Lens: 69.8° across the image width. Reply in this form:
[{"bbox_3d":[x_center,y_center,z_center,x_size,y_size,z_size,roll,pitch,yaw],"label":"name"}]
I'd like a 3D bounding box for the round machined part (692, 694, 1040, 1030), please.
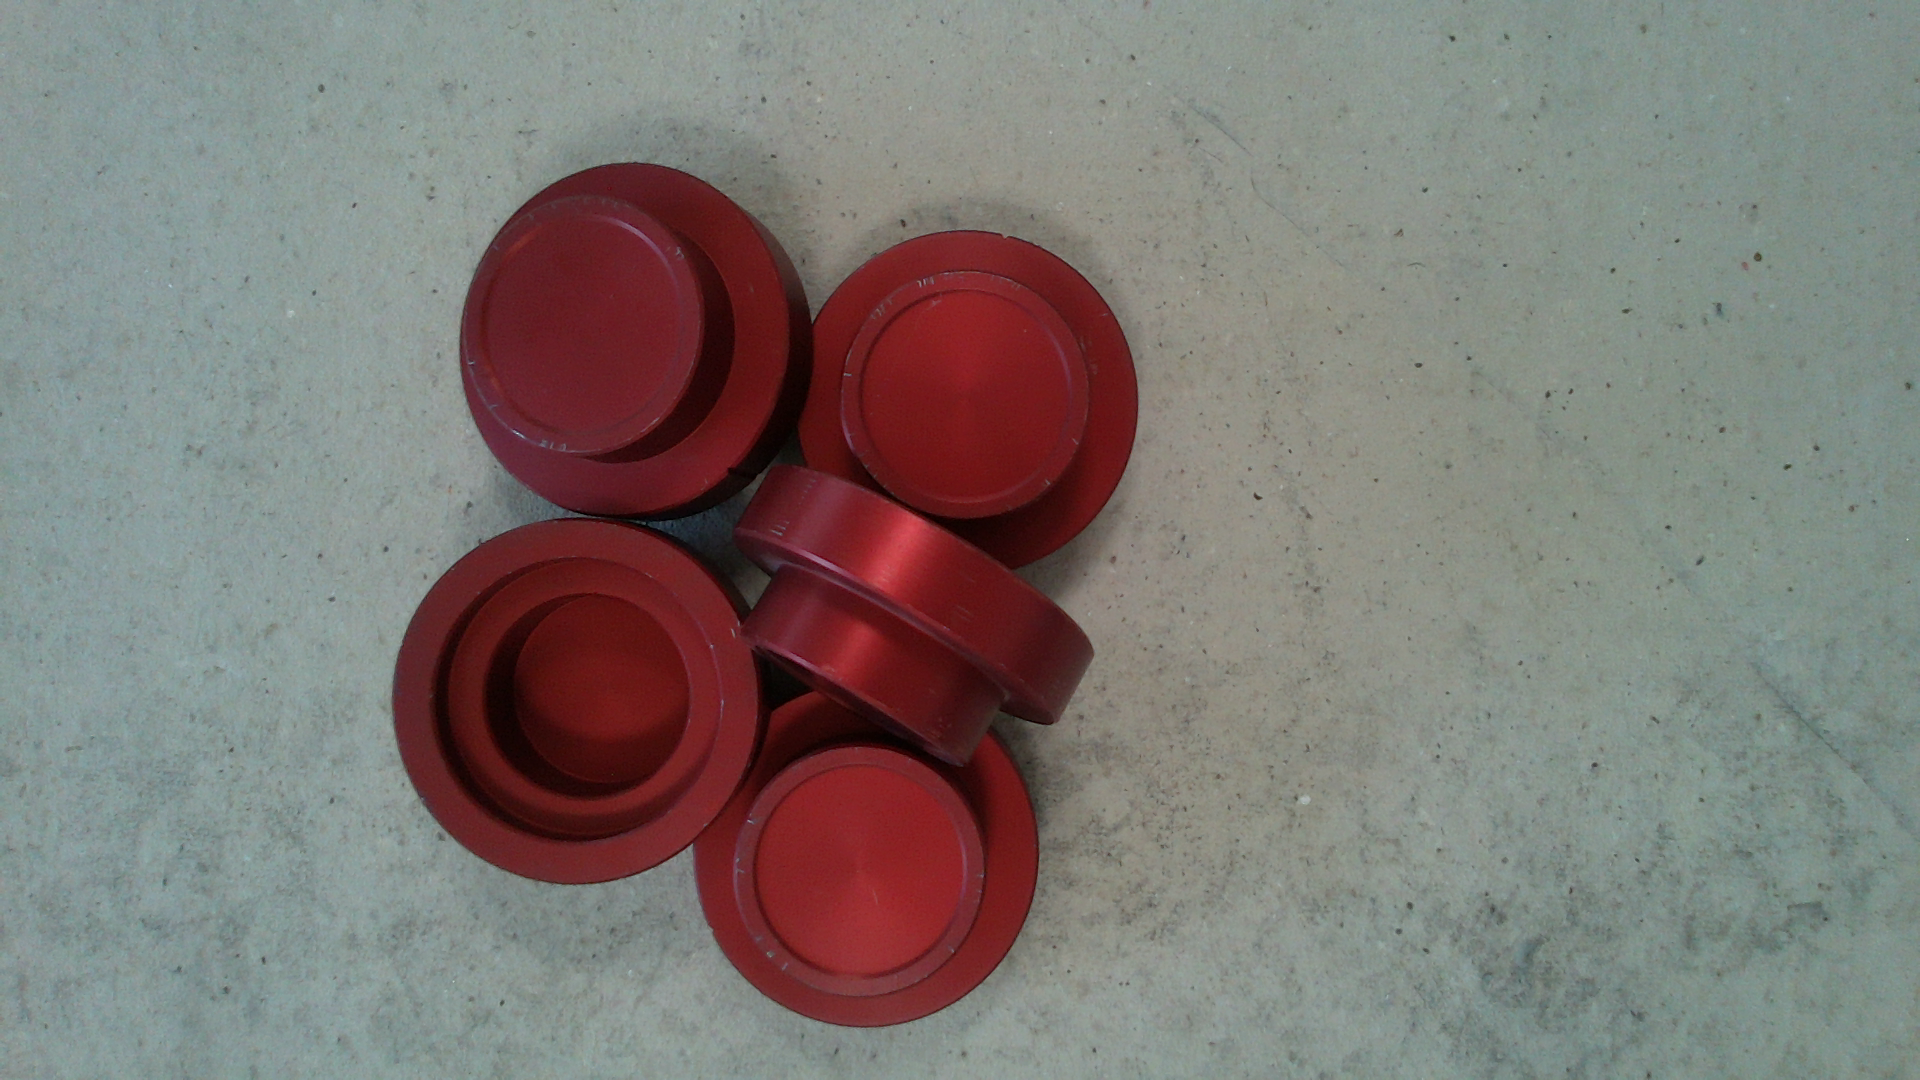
[{"bbox_3d":[-0.026,0.089,0.387,0.098,0.042,0.098,0,89,-1],"label":"round machined part"}]

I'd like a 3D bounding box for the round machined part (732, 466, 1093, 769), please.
[{"bbox_3d":[-0.018,0.025,0.356,0.098,0.098,0.042,29,77,0],"label":"round machined part"}]

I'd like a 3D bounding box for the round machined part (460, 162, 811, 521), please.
[{"bbox_3d":[-0.094,-0.055,0.376,0.098,0.042,0.098,0,88,13],"label":"round machined part"}]

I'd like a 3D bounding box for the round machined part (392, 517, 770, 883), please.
[{"bbox_3d":[-0.102,0.042,0.387,0.098,0.042,0.098,0,92,0],"label":"round machined part"}]

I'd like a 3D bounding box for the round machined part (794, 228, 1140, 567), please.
[{"bbox_3d":[0.002,-0.039,0.386,0.098,0.042,0.098,0,89,-1],"label":"round machined part"}]
